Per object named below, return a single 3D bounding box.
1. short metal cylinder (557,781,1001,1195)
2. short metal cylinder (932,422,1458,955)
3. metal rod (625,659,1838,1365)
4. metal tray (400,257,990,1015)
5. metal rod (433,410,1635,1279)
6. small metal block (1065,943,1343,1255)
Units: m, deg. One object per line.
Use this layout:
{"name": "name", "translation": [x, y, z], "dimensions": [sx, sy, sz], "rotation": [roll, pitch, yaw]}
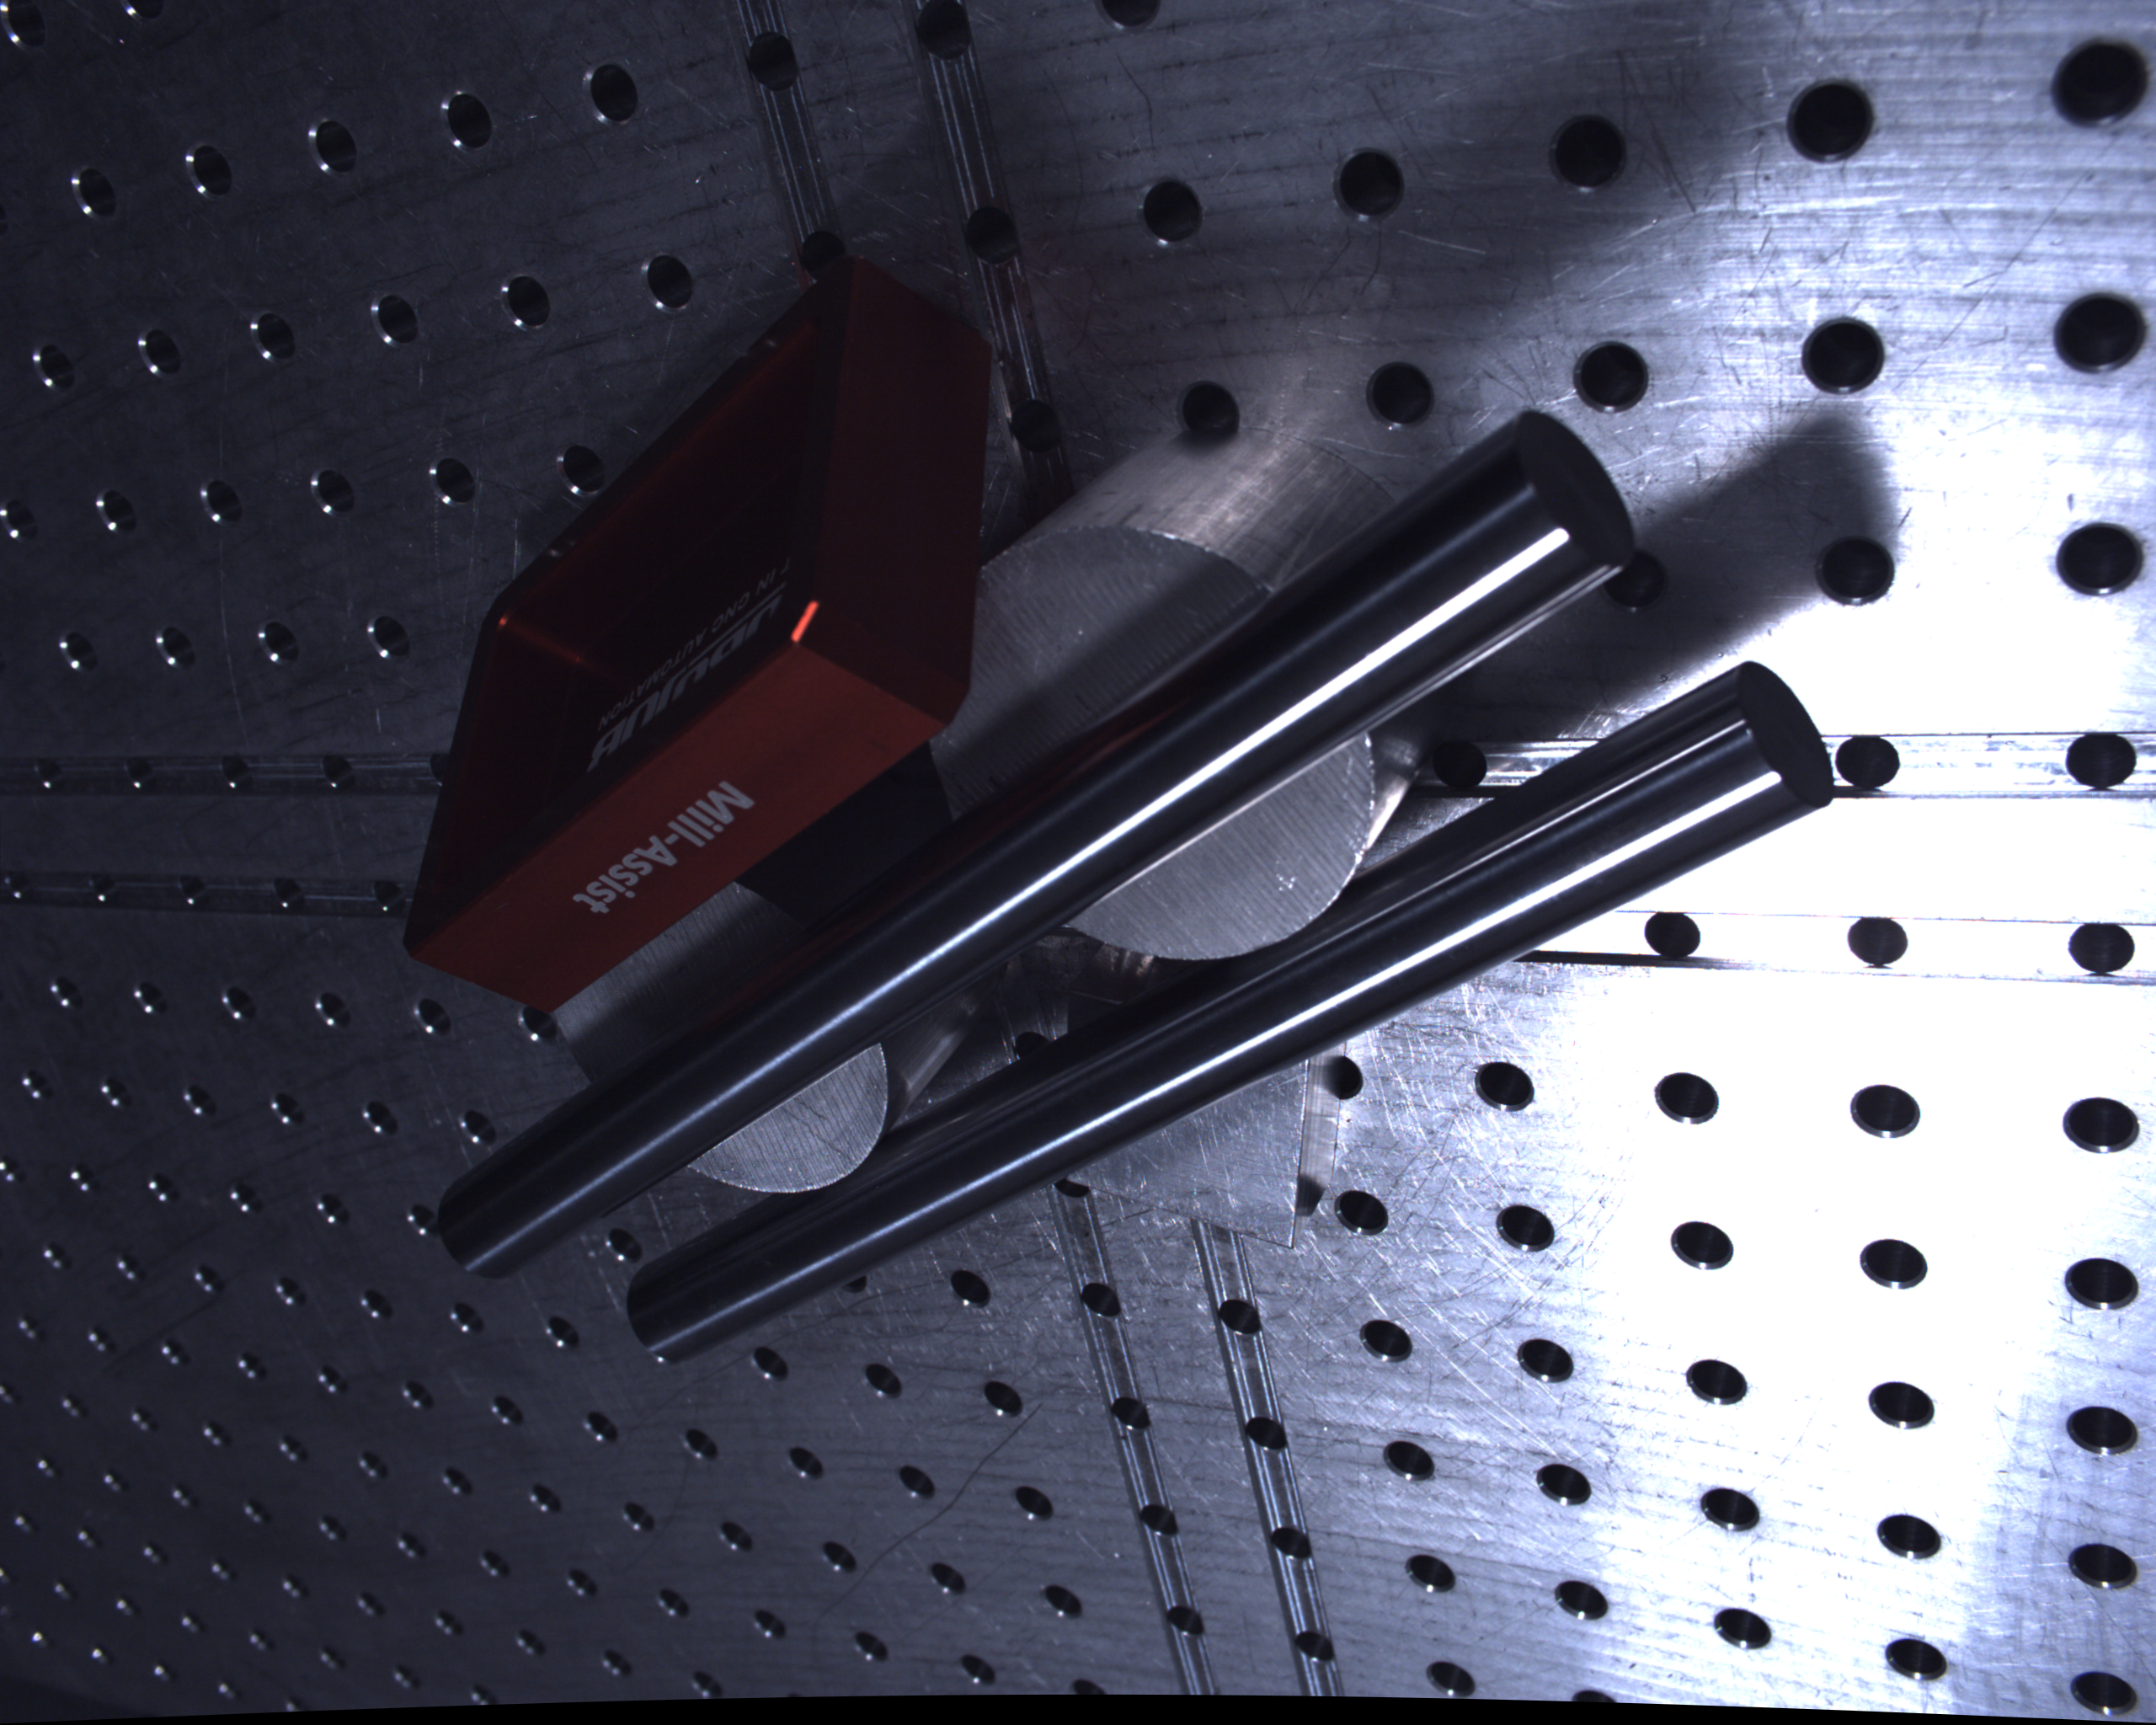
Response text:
{"name": "short metal cylinder", "translation": [-0.063, 0.023, 0.441], "dimensions": [0.080, 0.050, 0.079], "rotation": [13, 124, 20]}
{"name": "short metal cylinder", "translation": [0.021, -0.031, 0.365], "dimensions": [0.080, 0.050, 0.079], "rotation": [13, 124, 20]}
{"name": "metal rod", "translation": [0.005, 0.043, 0.400], "dimensions": [0.299, 0.025, 0.025], "rotation": [-32, 101, 38]}
{"name": "metal tray", "translation": [-0.071, -0.038, 0.379], "dimensions": [0.030, 0.090, 0.130], "rotation": [29, 136, -32]}
{"name": "metal rod", "translation": [-0.032, 0.015, 0.370], "dimensions": [0.299, 0.025, 0.025], "rotation": [-33, 100, 38]}
{"name": "small metal block", "translation": [0.025, 0.046, 0.424], "dimensions": [0.050, 0.025, 0.050], "rotation": [14, 124, 20]}
